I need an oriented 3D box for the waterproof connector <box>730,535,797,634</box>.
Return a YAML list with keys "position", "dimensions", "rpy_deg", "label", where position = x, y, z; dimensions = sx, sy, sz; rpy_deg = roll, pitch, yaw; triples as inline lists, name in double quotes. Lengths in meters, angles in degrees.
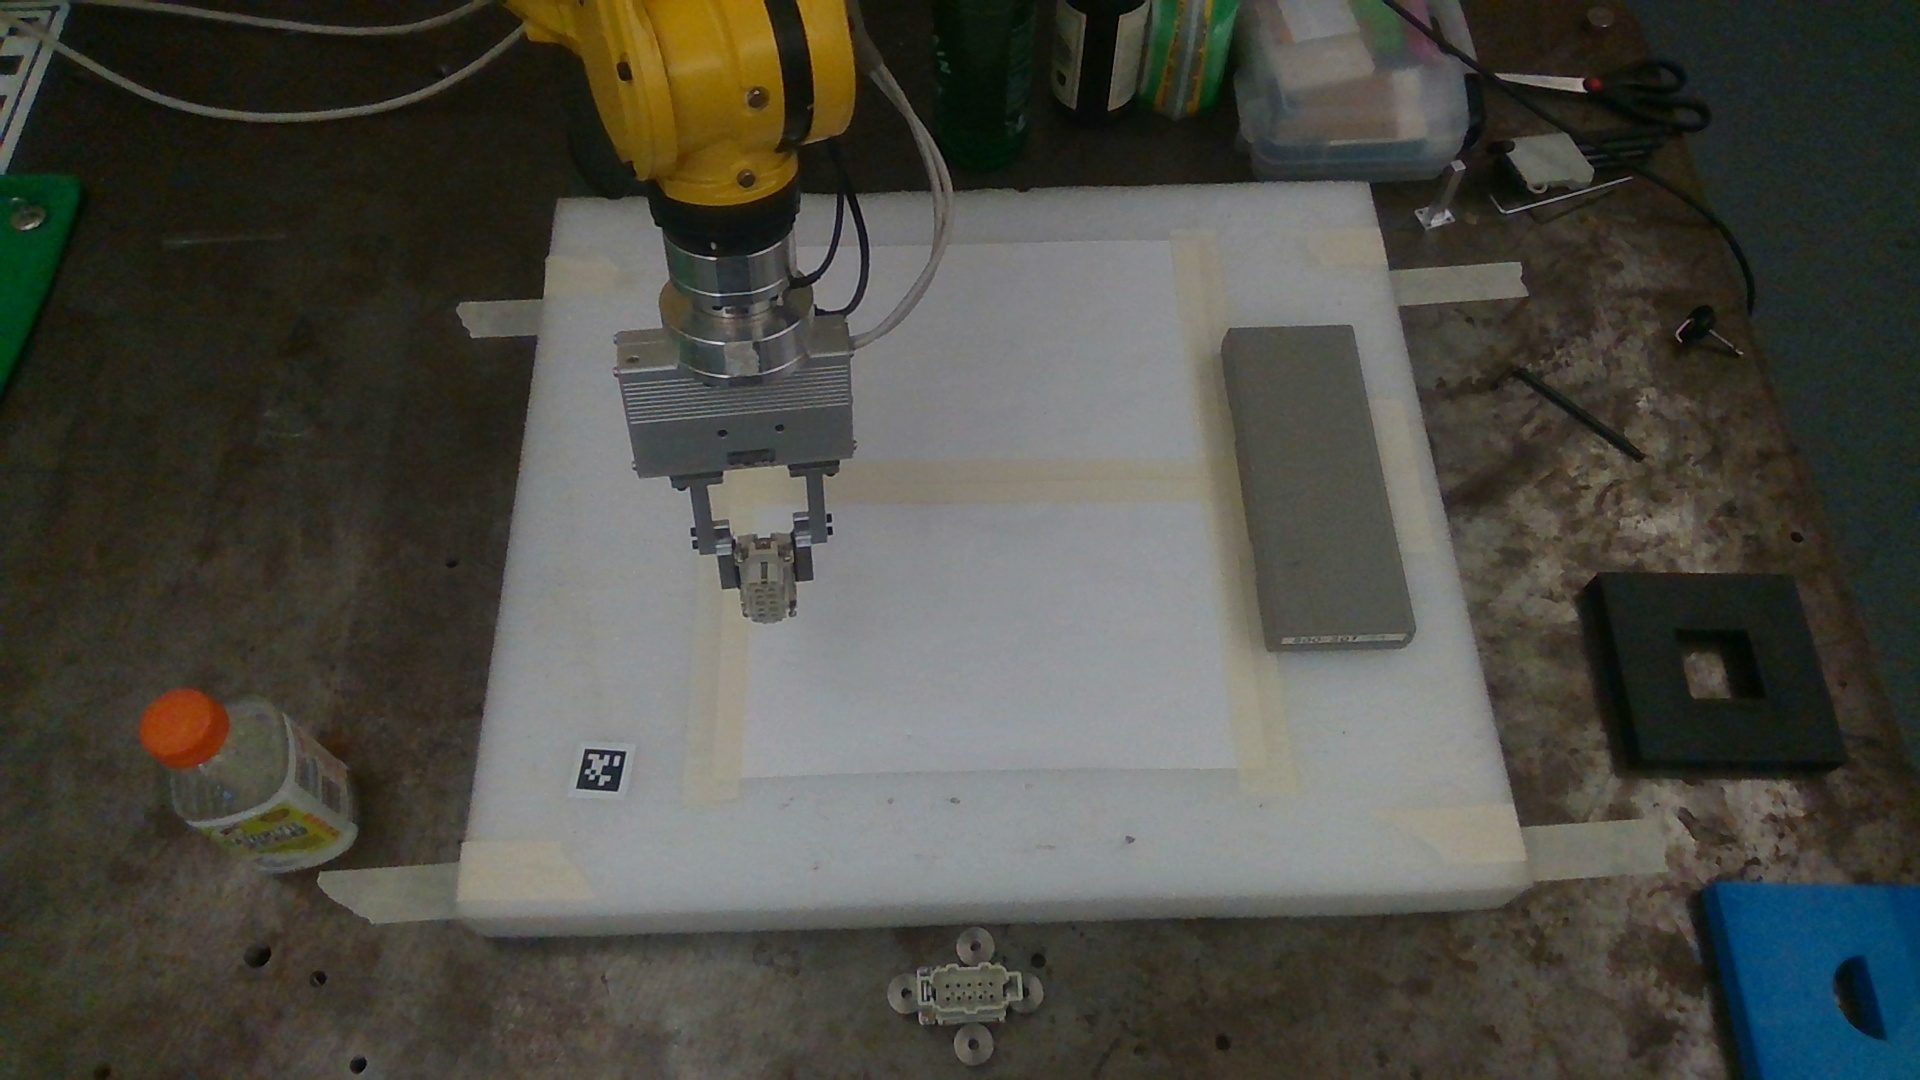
- position: [-0.119, 0.027, 0.843]
  dimensions: [0.037, 0.069, 0.038]
  rpy_deg: [-1, 45, -4]
  label: "waterproof connector"
